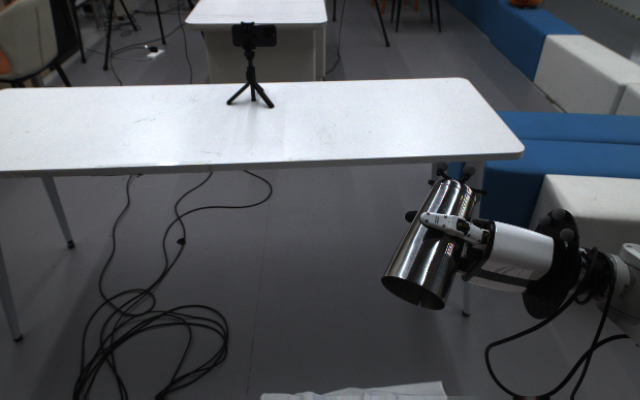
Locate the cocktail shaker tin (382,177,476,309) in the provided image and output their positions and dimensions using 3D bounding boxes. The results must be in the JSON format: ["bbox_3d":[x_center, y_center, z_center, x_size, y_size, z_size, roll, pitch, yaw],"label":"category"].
[{"bbox_3d":[0.164,0.053,0.684,0.093,0.093,0.170,18,67,22],"label":"cocktail shaker tin"}]
